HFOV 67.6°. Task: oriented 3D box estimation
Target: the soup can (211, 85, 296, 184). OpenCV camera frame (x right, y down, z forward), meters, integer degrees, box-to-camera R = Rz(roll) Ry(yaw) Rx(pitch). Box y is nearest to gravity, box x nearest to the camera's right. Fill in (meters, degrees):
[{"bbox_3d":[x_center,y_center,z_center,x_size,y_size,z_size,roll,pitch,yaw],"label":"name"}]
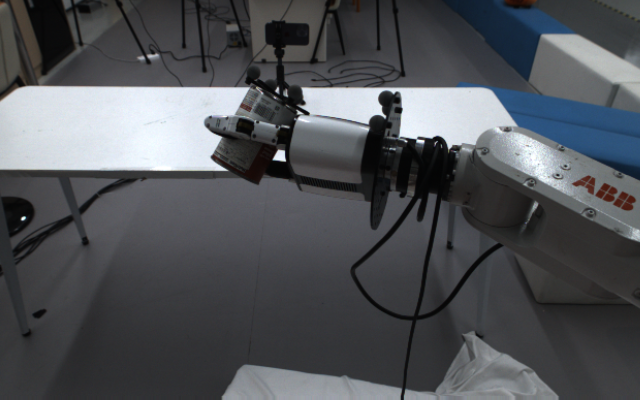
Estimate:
[{"bbox_3d":[-0.078,-0.078,0.594,0.067,0.101,0.067,30,2,-1],"label":"soup can"}]
